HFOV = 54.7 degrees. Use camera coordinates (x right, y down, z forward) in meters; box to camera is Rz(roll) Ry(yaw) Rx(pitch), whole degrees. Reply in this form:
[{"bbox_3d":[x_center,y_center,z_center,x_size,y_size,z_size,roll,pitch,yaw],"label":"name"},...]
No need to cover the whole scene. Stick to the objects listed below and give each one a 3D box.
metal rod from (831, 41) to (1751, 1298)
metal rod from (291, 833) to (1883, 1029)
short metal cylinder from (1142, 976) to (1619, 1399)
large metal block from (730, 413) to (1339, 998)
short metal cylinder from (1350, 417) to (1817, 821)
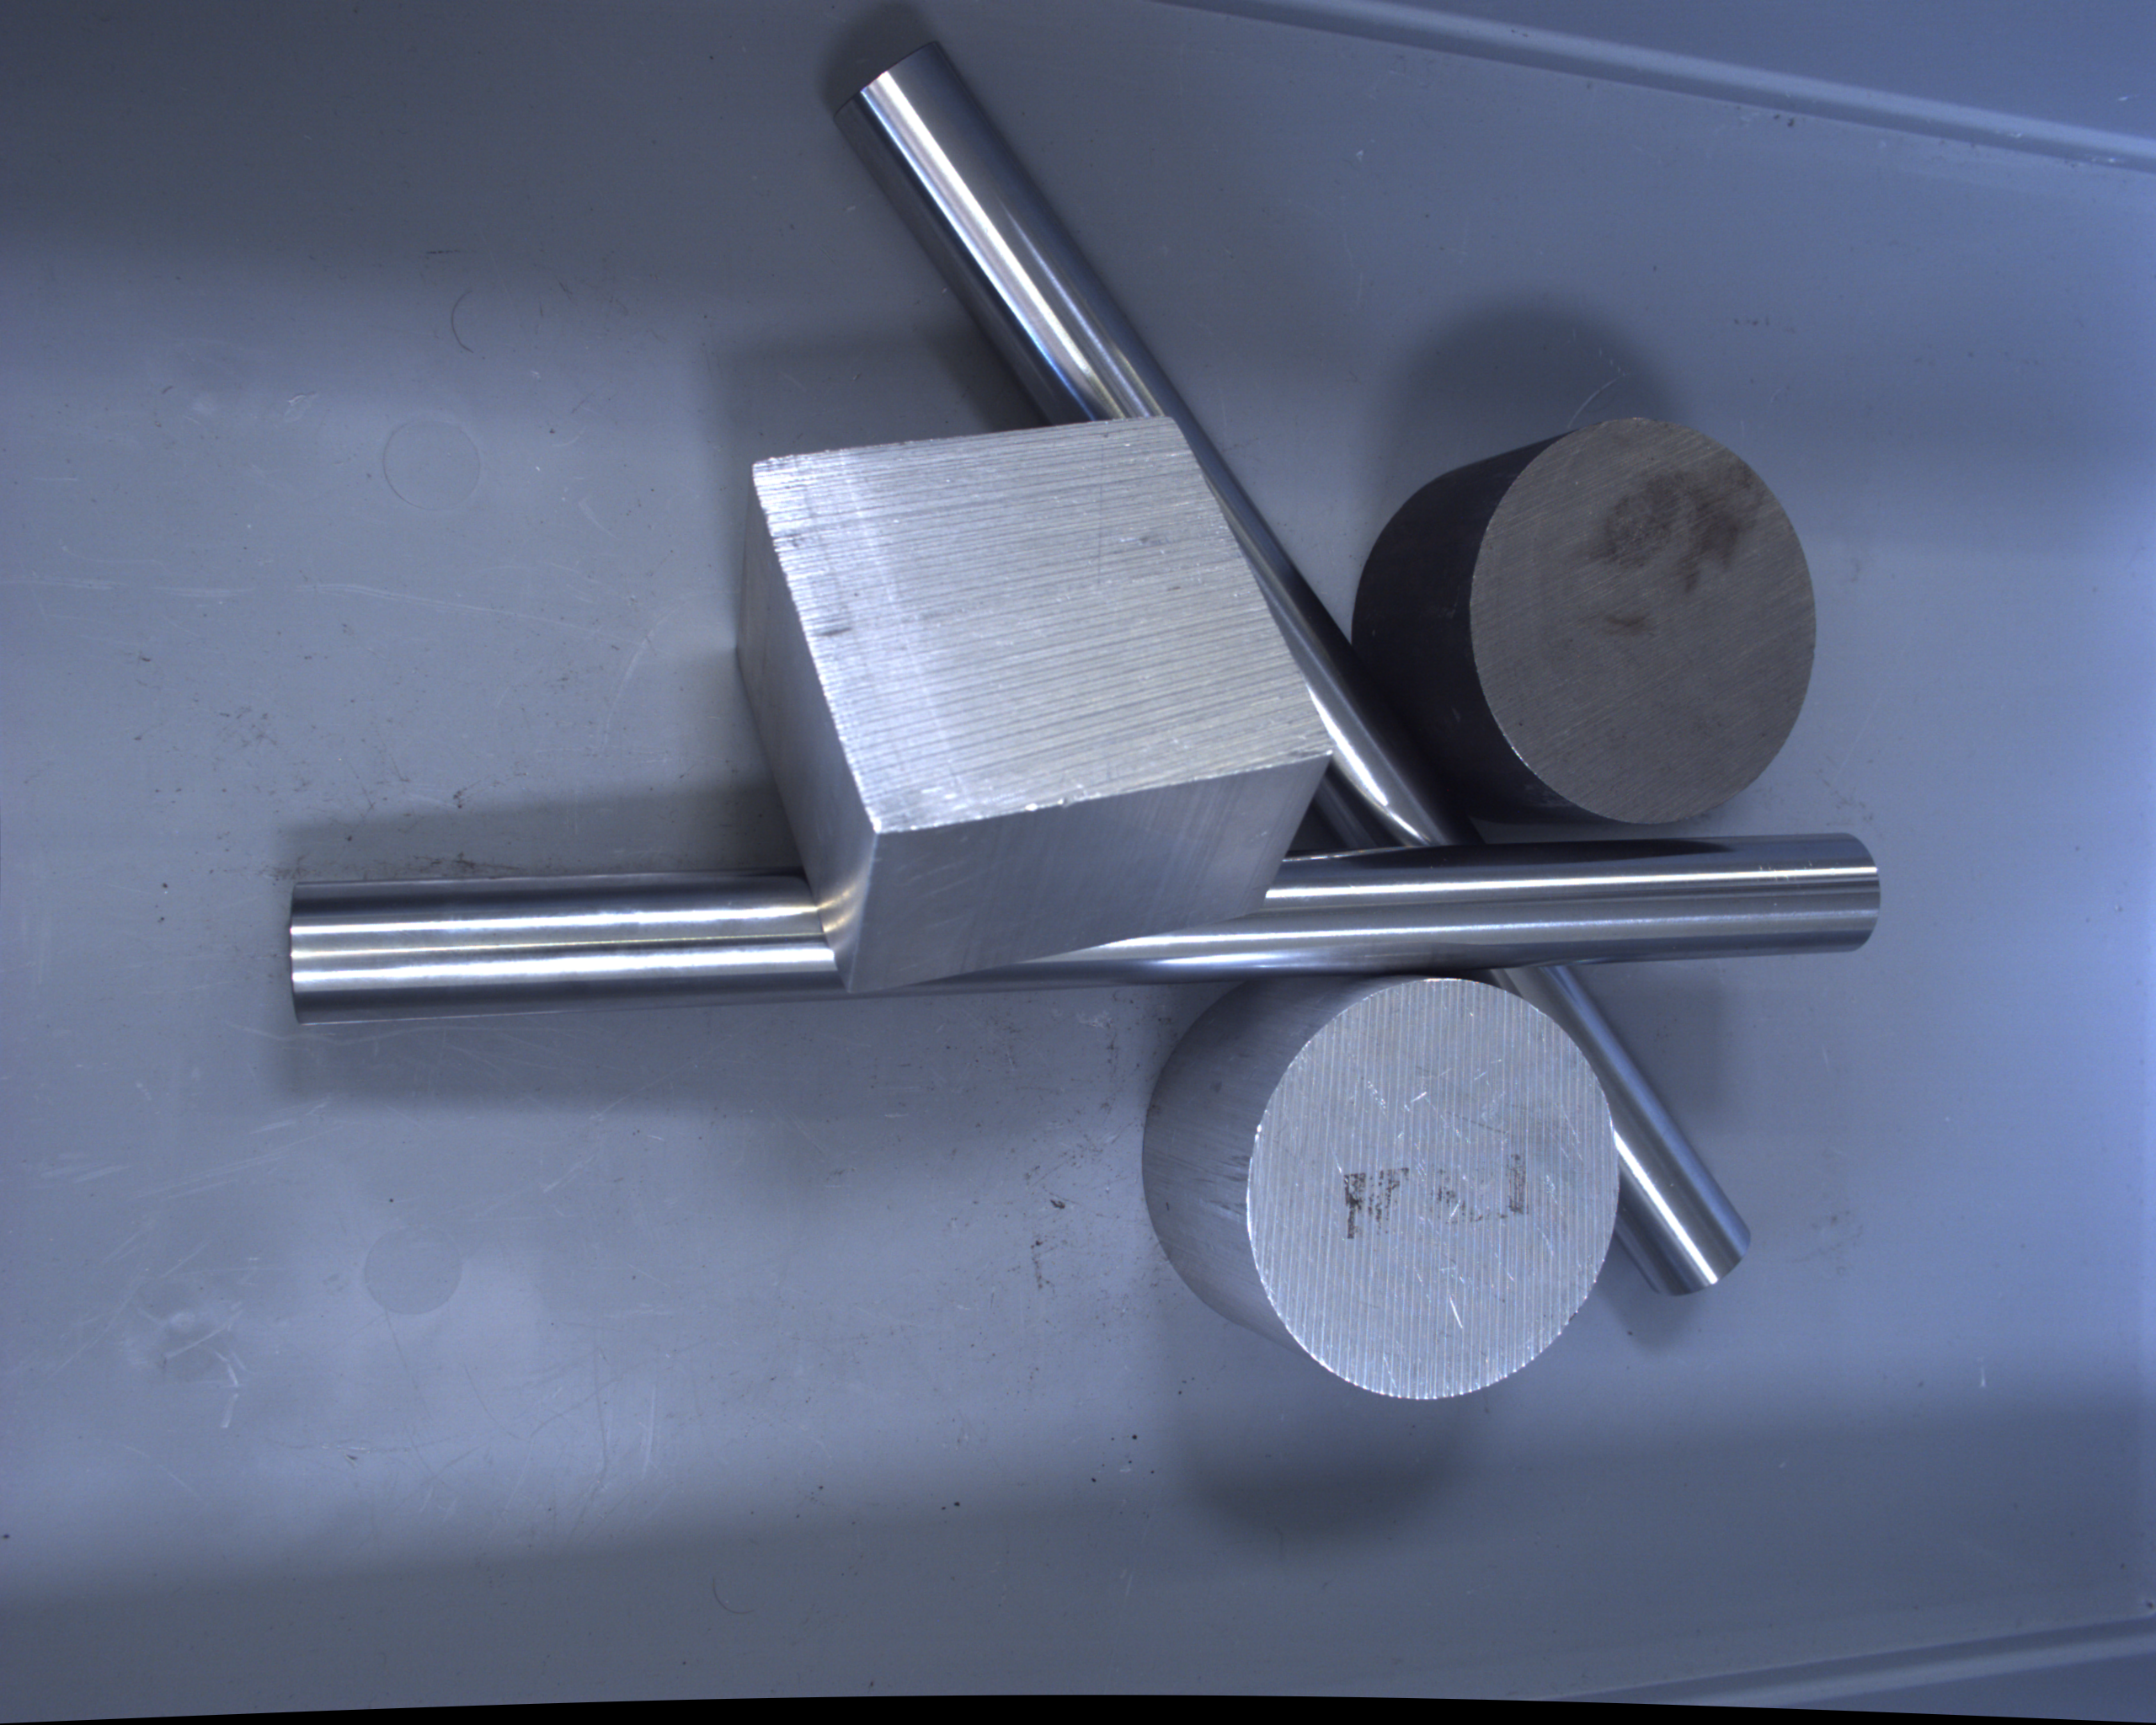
[{"bbox_3d":[0.050,-0.030,0.428,0.025,0.025,0.299,-40,103,-16],"label":"metal rod"},{"bbox_3d":[0.013,0.011,0.396,0.302,0.025,0.025,-2,91,-14],"label":"metal rod"},{"bbox_3d":[0.059,0.061,0.418,0.081,0.050,0.079,0,90,-20],"label":"short metal cylinder"},{"bbox_3d":[-0.012,-0.030,0.372,0.081,0.050,0.080,-11,59,-19],"label":"large metal block"},{"bbox_3d":[0.104,-0.048,0.434,0.081,0.050,0.079,0,90,-20],"label":"short metal cylinder"}]
